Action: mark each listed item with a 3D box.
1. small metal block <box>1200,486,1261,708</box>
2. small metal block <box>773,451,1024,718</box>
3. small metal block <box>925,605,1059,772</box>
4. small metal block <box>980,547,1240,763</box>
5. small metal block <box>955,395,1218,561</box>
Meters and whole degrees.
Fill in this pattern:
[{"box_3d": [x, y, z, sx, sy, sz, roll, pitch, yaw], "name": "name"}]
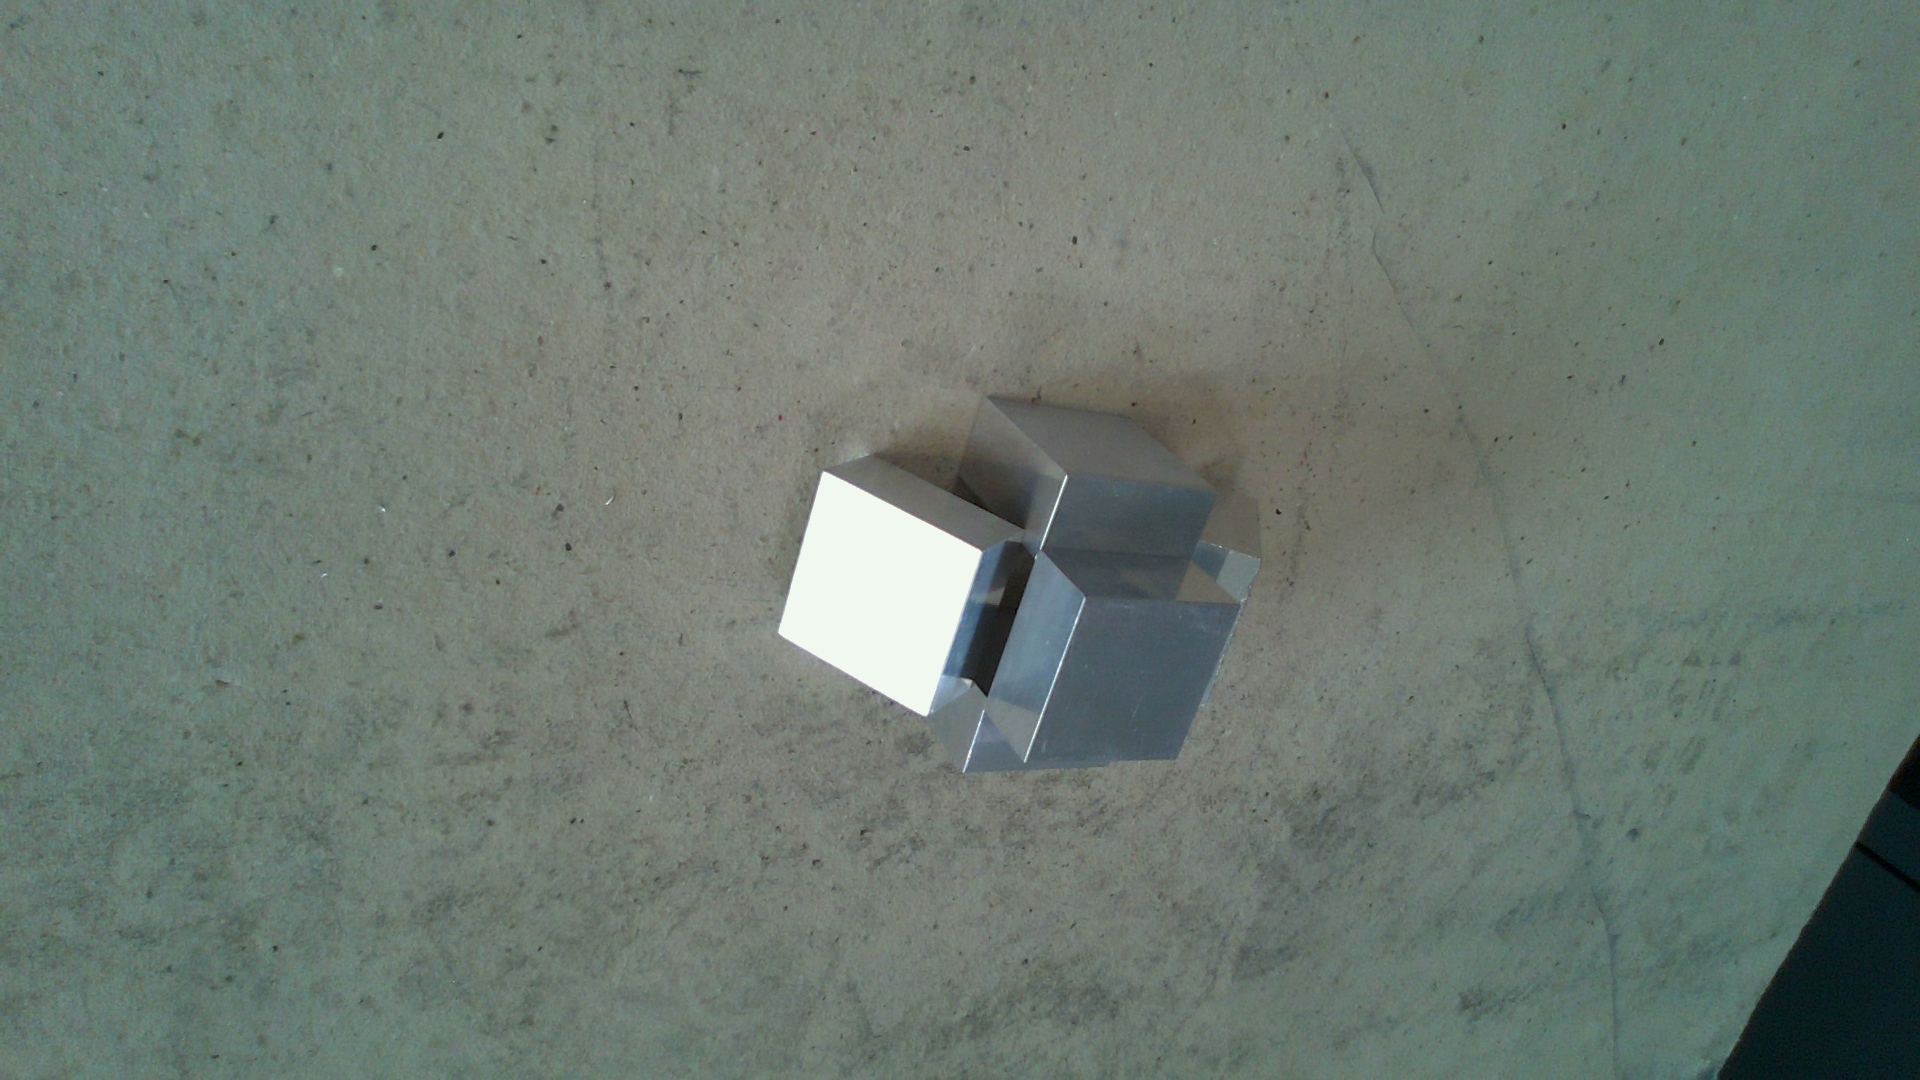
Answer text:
[{"box_3d": [0.070, 0.014, 0.418, 0.025, 0.050, 0.050, 18, 114, 3], "name": "small metal block"}, {"box_3d": [-0.017, 0.011, 0.369, 0.025, 0.050, 0.050, -26, 139, -59], "name": "small metal block"}, {"box_3d": [0.015, 0.043, 0.409, 0.050, 0.050, 0.025, 3, 117, -30], "name": "small metal block"}, {"box_3d": [0.039, 0.031, 0.367, 0.050, 0.025, 0.050, 4, 117, -30], "name": "small metal block"}, {"box_3d": [0.034, -0.016, 0.383, 0.050, 0.050, 0.025, 5, 117, -30], "name": "small metal block"}]
